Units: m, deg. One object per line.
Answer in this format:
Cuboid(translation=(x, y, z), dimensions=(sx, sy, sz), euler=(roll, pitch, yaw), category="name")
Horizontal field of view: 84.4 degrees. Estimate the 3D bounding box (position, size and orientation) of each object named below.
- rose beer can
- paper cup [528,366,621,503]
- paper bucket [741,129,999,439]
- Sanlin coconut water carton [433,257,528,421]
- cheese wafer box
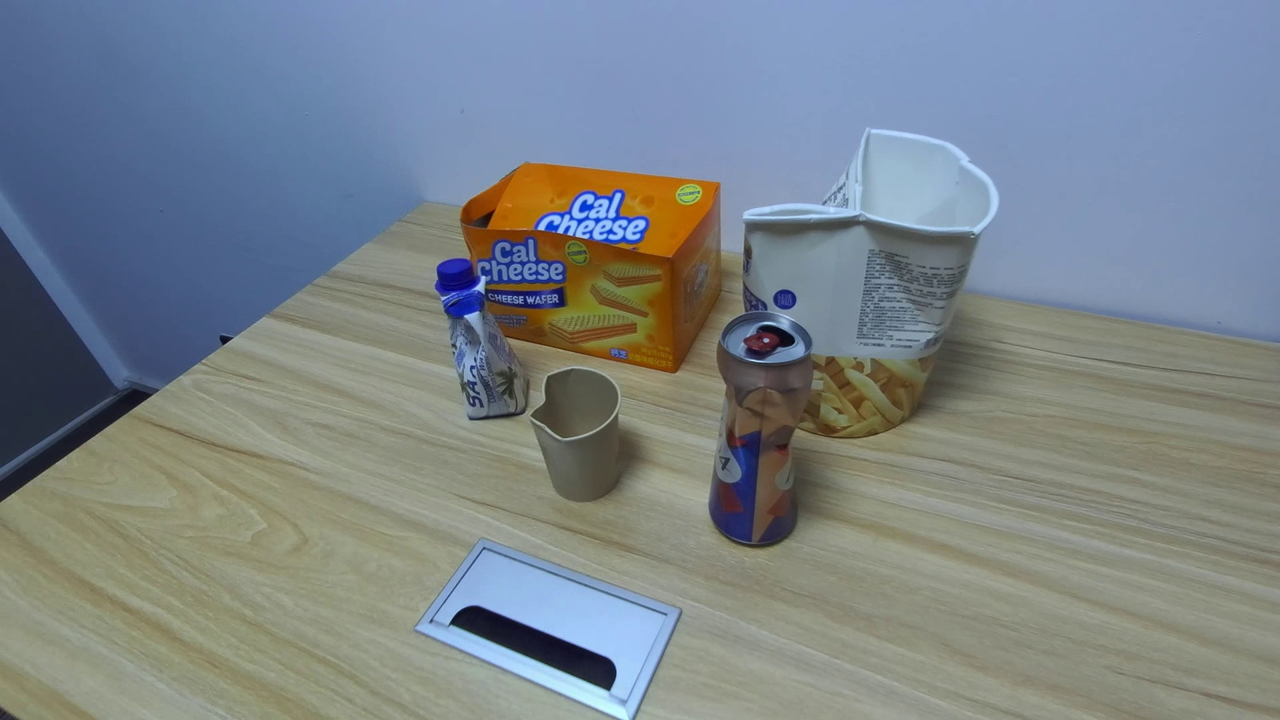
Cuboid(translation=(0.081, 0.051, 0.474), dimensions=(0.065, 0.167, 0.076), euler=(7, 37, 12), category="rose beer can")
Cuboid(translation=(-0.045, 0.061, 0.540), dimensions=(0.073, 0.081, 0.069), euler=(29, 49, 34), category="paper cup")
Cuboid(translation=(0.174, -0.063, 0.581), dimensions=(0.169, 0.202, 0.162), euler=(9, 39, 12), category="paper bucket")
Cuboid(translation=(-0.142, -0.012, 0.599), dimensions=(0.057, 0.145, 0.068), euler=(-13, 46, 3), category="Sanlin coconut water carton")
Cuboid(translation=(-0.046, -0.098, 0.700), dimensions=(0.230, 0.132, 0.152), euler=(12, 44, 20), category="cheese wafer box")
